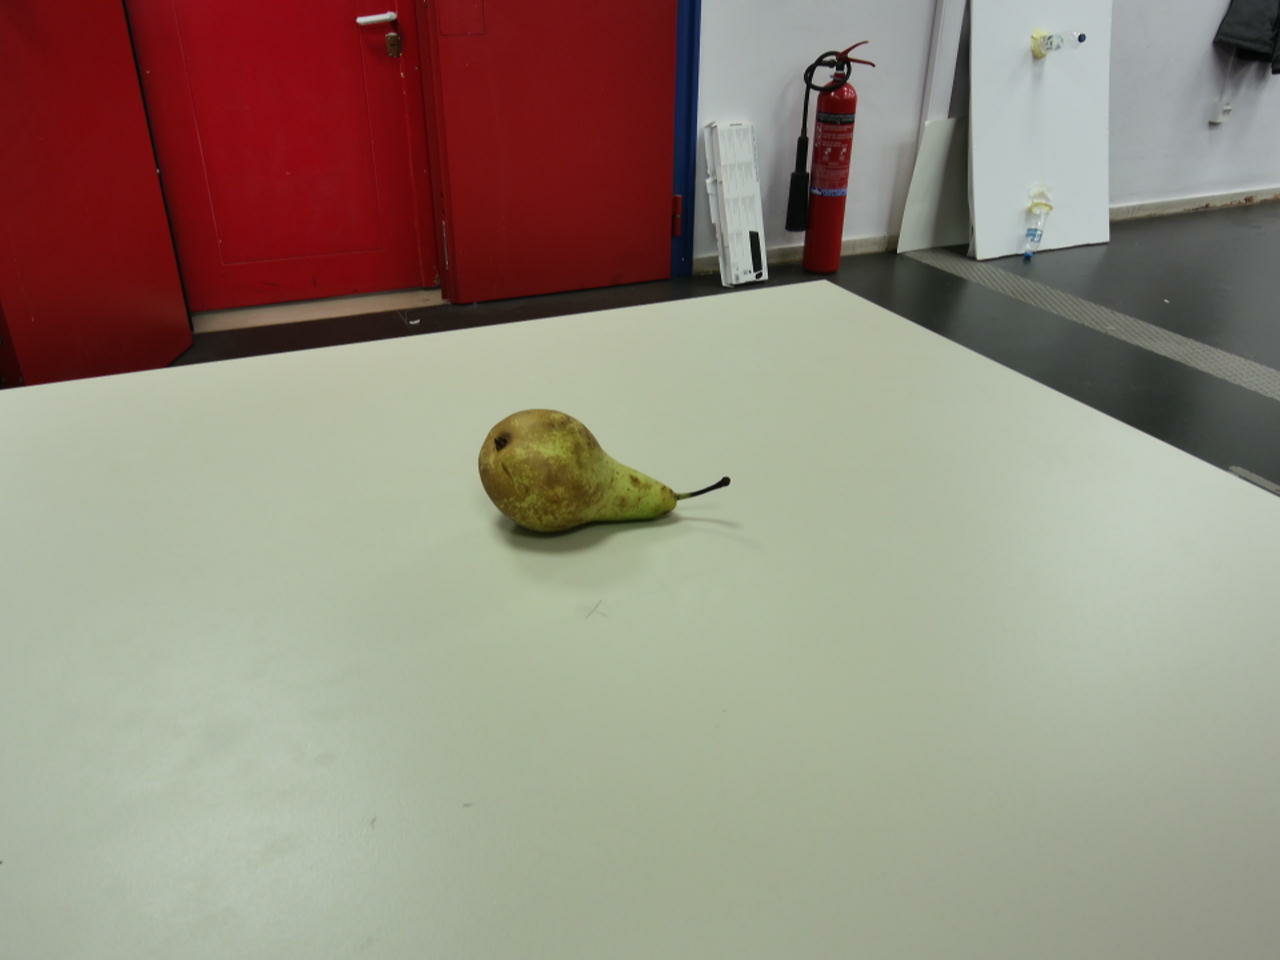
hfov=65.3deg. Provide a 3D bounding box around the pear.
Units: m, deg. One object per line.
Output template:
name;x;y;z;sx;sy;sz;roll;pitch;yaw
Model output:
pear;-0.025;-0.010;0.604;0.144;0.075;0.071;-9;27;-16
